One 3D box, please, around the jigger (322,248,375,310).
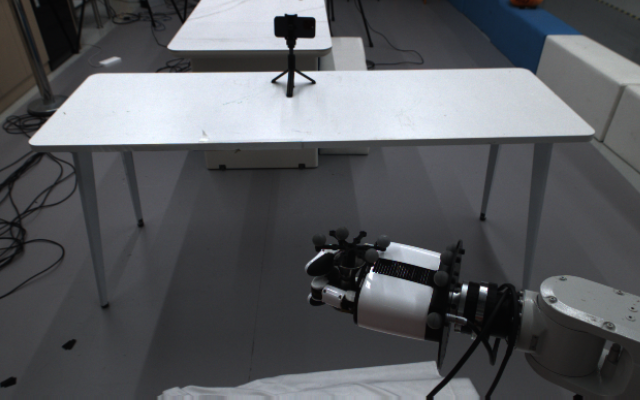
[{"bbox_3d":[0.040,0.105,0.631,0.043,0.071,0.043,3,24,-1],"label":"jigger"}]
